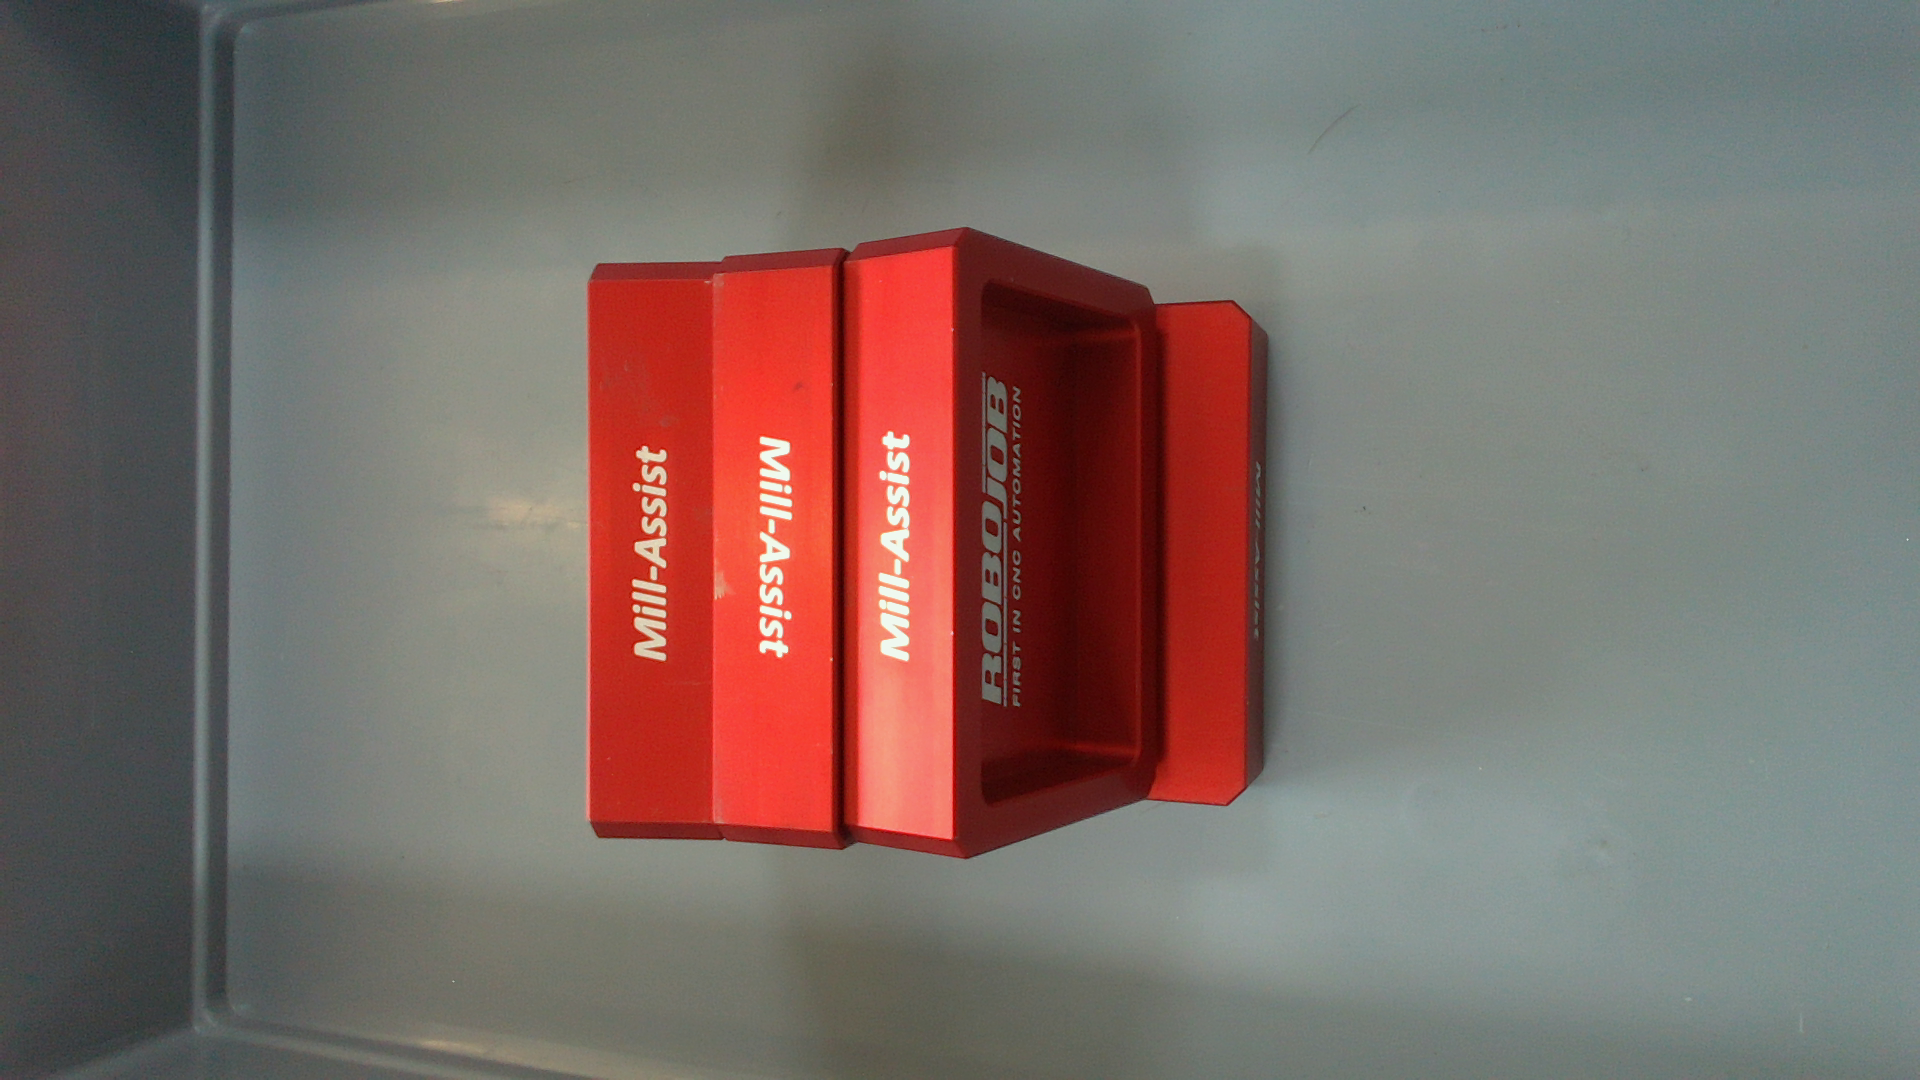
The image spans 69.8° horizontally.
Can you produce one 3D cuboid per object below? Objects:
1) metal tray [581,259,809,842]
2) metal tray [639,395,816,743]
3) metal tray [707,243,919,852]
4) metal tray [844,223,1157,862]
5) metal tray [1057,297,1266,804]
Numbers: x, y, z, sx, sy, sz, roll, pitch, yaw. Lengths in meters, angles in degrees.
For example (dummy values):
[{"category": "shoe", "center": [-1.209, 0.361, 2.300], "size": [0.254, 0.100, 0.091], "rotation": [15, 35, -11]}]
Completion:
[{"category": "metal tray", "center": [-0.064, 0.002, 0.348], "size": [0.030, 0.090, 0.130], "rotation": [0, 90, 8]}, {"category": "metal tray", "center": [-0.049, 0.001, 0.409], "size": [0.090, 0.030, 0.130], "rotation": [0, 90, 20]}, {"category": "metal tray", "center": [-0.025, 0.003, 0.336], "size": [0.030, 0.090, 0.130], "rotation": [0, 88, 20]}, {"category": "metal tray", "center": [0.013, 0.000, 0.321], "size": [0.030, 0.090, 0.130], "rotation": [0, 90, 34]}, {"category": "metal tray", "center": [0.036, 0.002, 0.379], "size": [0.090, 0.030, 0.130], "rotation": [0, 90, 20]}]
